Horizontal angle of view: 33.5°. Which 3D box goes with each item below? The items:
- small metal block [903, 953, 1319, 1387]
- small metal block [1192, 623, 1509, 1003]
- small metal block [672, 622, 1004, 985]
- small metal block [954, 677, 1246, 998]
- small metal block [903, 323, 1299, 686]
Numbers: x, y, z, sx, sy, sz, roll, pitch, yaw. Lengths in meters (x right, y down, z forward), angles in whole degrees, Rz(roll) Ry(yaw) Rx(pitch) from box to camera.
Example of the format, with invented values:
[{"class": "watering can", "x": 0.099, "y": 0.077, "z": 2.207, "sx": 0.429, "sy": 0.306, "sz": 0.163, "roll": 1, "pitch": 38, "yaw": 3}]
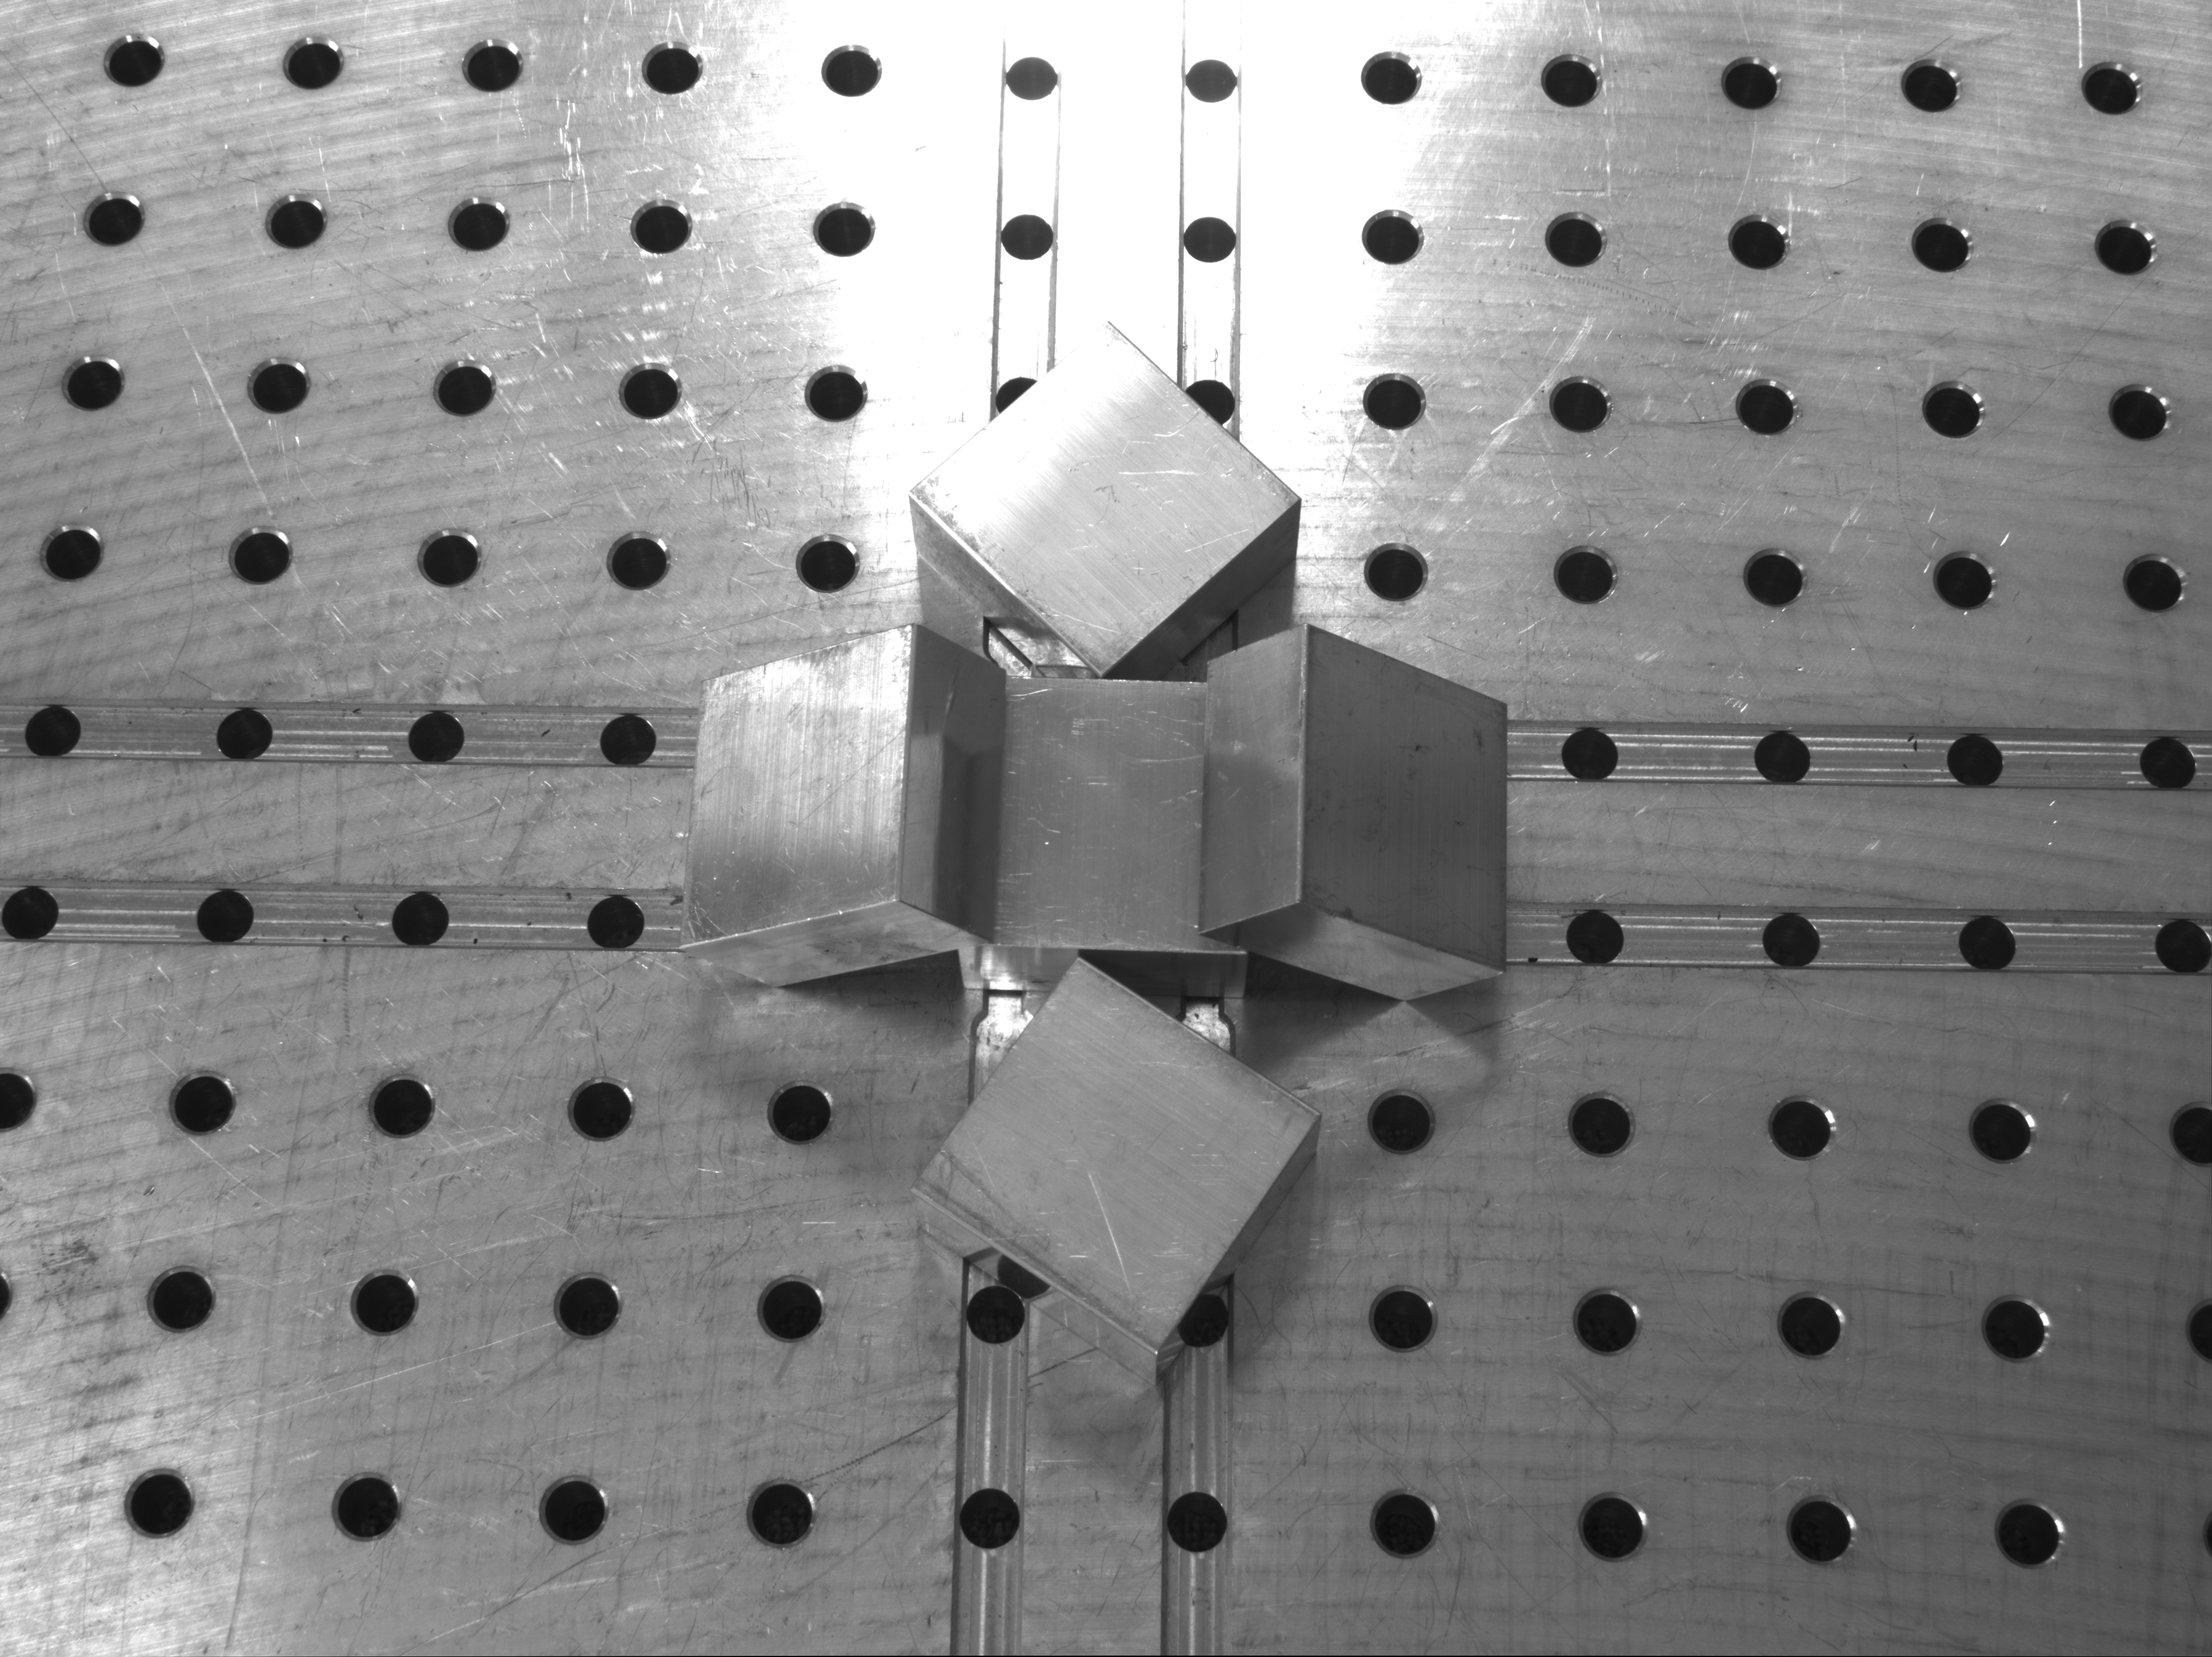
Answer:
[{"class": "small metal block", "x": 0.001, "y": 0.058, "z": 0.626, "sx": 0.050, "sy": 0.025, "sz": 0.050, "roll": 32, "pitch": 74, "yaw": 13}, {"class": "small metal block", "x": 0.043, "y": -0.002, "z": 0.634, "sx": 0.050, "sy": 0.025, "sz": 0.050, "roll": 19, "pitch": 64, "yaw": -37}, {"class": "small metal block", "x": -0.046, "y": -0.004, "z": 0.636, "sx": 0.050, "sy": 0.025, "sz": 0.050, "roll": -12, "pitch": 66, "yaw": 35}, {"class": "small metal block", "x": 0.000, "y": 0.002, "z": 0.647, "sx": 0.050, "sy": 0.025, "sz": 0.050, "roll": 1, "pitch": 69, "yaw": 1}, {"class": "small metal block", "x": -0.001, "y": -0.055, "z": 0.668, "sx": 0.050, "sy": 0.025, "sz": 0.050, "roll": -42, "pitch": 74, "yaw": -14}]
